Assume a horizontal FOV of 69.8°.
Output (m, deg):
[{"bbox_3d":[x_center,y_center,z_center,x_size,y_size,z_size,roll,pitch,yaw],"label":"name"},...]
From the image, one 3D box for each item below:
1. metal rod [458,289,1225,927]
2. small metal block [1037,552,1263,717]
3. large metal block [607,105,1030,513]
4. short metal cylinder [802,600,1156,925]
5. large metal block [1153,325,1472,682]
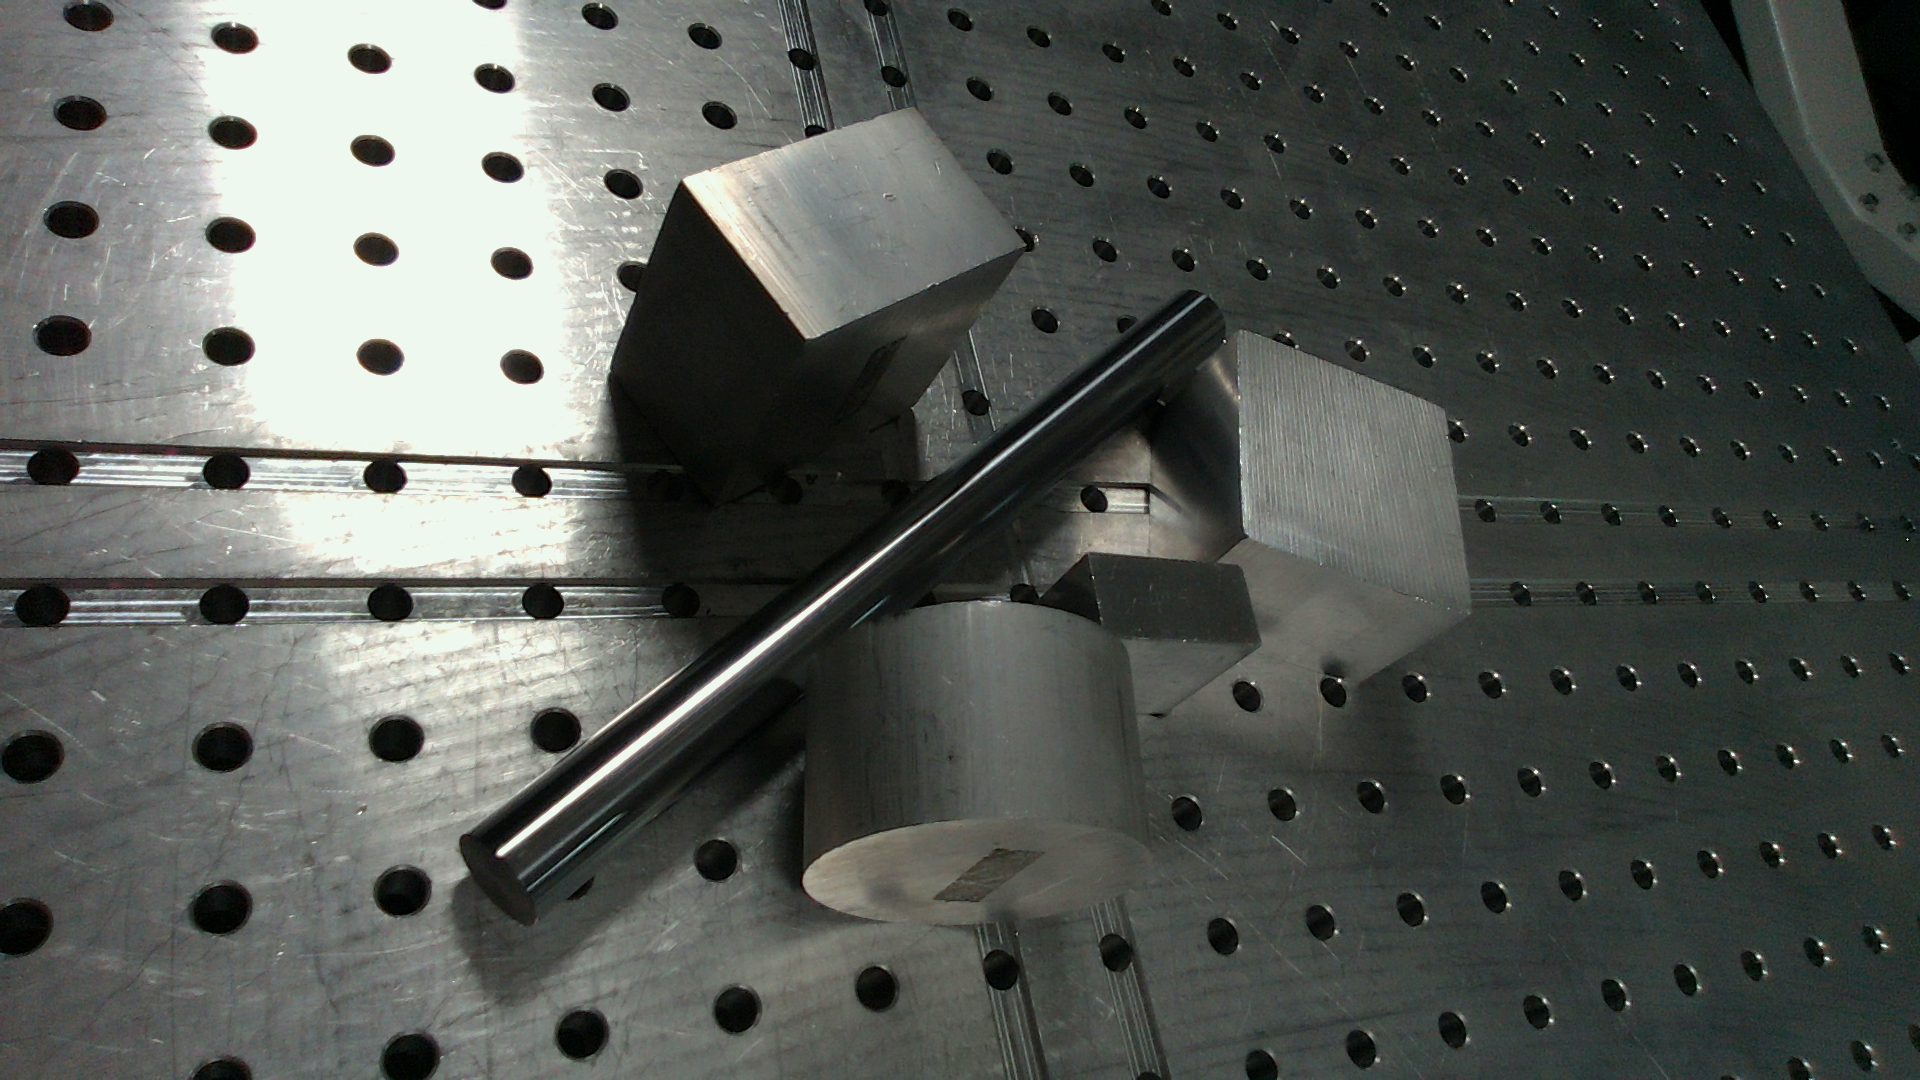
[{"bbox_3d":[-0.009,-0.002,0.388,0.025,0.025,0.301,47,51,5],"label":"metal rod"},{"bbox_3d":[0.047,0.028,0.385,0.050,0.050,0.025,5,59,-26],"label":"small metal block"},{"bbox_3d":[-0.040,-0.063,0.375,0.080,0.080,0.050,-32,79,-38],"label":"large metal block"},{"bbox_3d":[0.003,0.055,0.325,0.080,0.080,0.050,11,57,-22],"label":"short metal cylinder"},{"bbox_3d":[0.109,-0.010,0.438,0.080,0.050,0.080,18,55,-18],"label":"large metal block"}]
